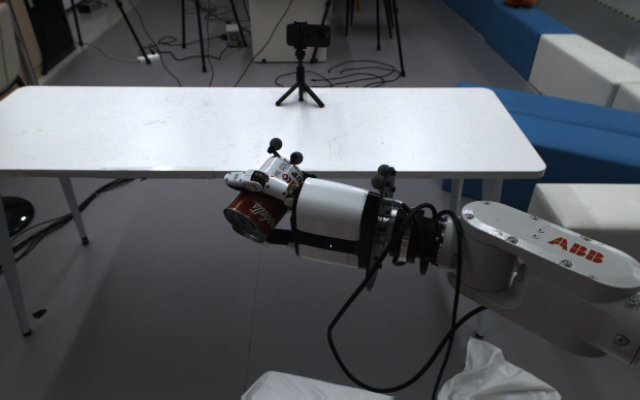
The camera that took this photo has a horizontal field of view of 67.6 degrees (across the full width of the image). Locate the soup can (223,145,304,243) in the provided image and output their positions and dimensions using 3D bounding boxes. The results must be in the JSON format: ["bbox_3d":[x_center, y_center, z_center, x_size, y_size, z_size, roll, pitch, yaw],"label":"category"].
[{"bbox_3d":[-0.071,-0.002,0.648,0.067,0.067,0.101,22,60,26],"label":"soup can"}]
